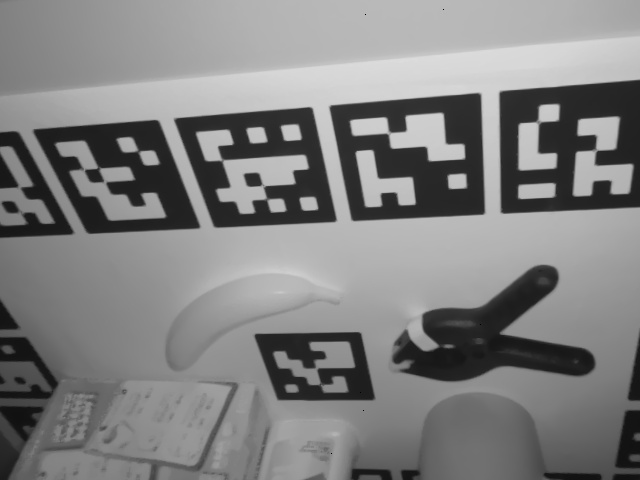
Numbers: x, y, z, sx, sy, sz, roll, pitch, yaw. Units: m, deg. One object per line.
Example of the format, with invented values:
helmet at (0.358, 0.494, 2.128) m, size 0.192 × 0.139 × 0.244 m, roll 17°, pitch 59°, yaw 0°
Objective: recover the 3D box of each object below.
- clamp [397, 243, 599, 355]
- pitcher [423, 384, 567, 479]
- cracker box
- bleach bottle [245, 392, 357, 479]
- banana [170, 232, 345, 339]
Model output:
clamp at (0.144, 0.063, 0.593) m, size 0.163 × 0.037 × 0.121 m, roll -12°, pitch 128°, yaw 20°
pitcher at (0.152, 0.244, 0.578) m, size 0.187 × 0.245 × 0.133 m, roll -14°, pitch 127°, yaw 22°
cracker box at (-0.183, 0.185, 0.639) m, size 0.213 × 0.166 × 0.071 m, roll 1°, pitch 132°, yaw 6°
bleach bottle at (-0.027, 0.262, 0.643) m, size 0.102 × 0.253 × 0.067 m, roll 0°, pitch 130°, yaw 9°
banana at (-0.075, 0.038, 0.614) m, size 0.194 × 0.039 × 0.074 m, roll -29°, pitch 120°, yaw 28°
